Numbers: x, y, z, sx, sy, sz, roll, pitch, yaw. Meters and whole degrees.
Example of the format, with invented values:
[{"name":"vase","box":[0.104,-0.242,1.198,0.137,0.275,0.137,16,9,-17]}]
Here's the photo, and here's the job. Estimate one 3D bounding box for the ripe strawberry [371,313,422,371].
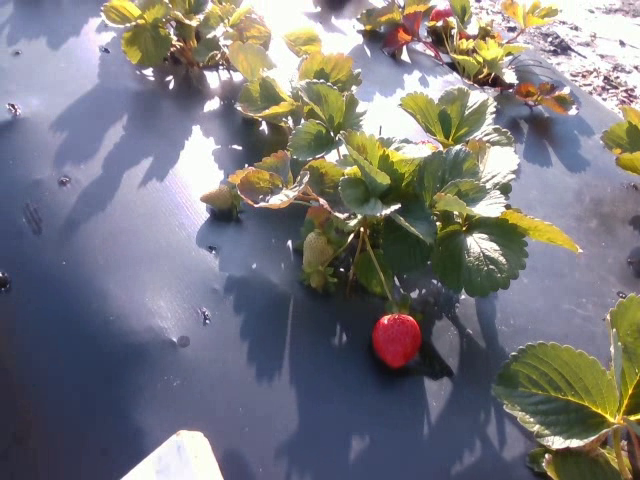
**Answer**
[{"name":"ripe strawberry","box":[0.047,0.063,0.361,0.030,0.033,0.044,-18,32,31]}]
